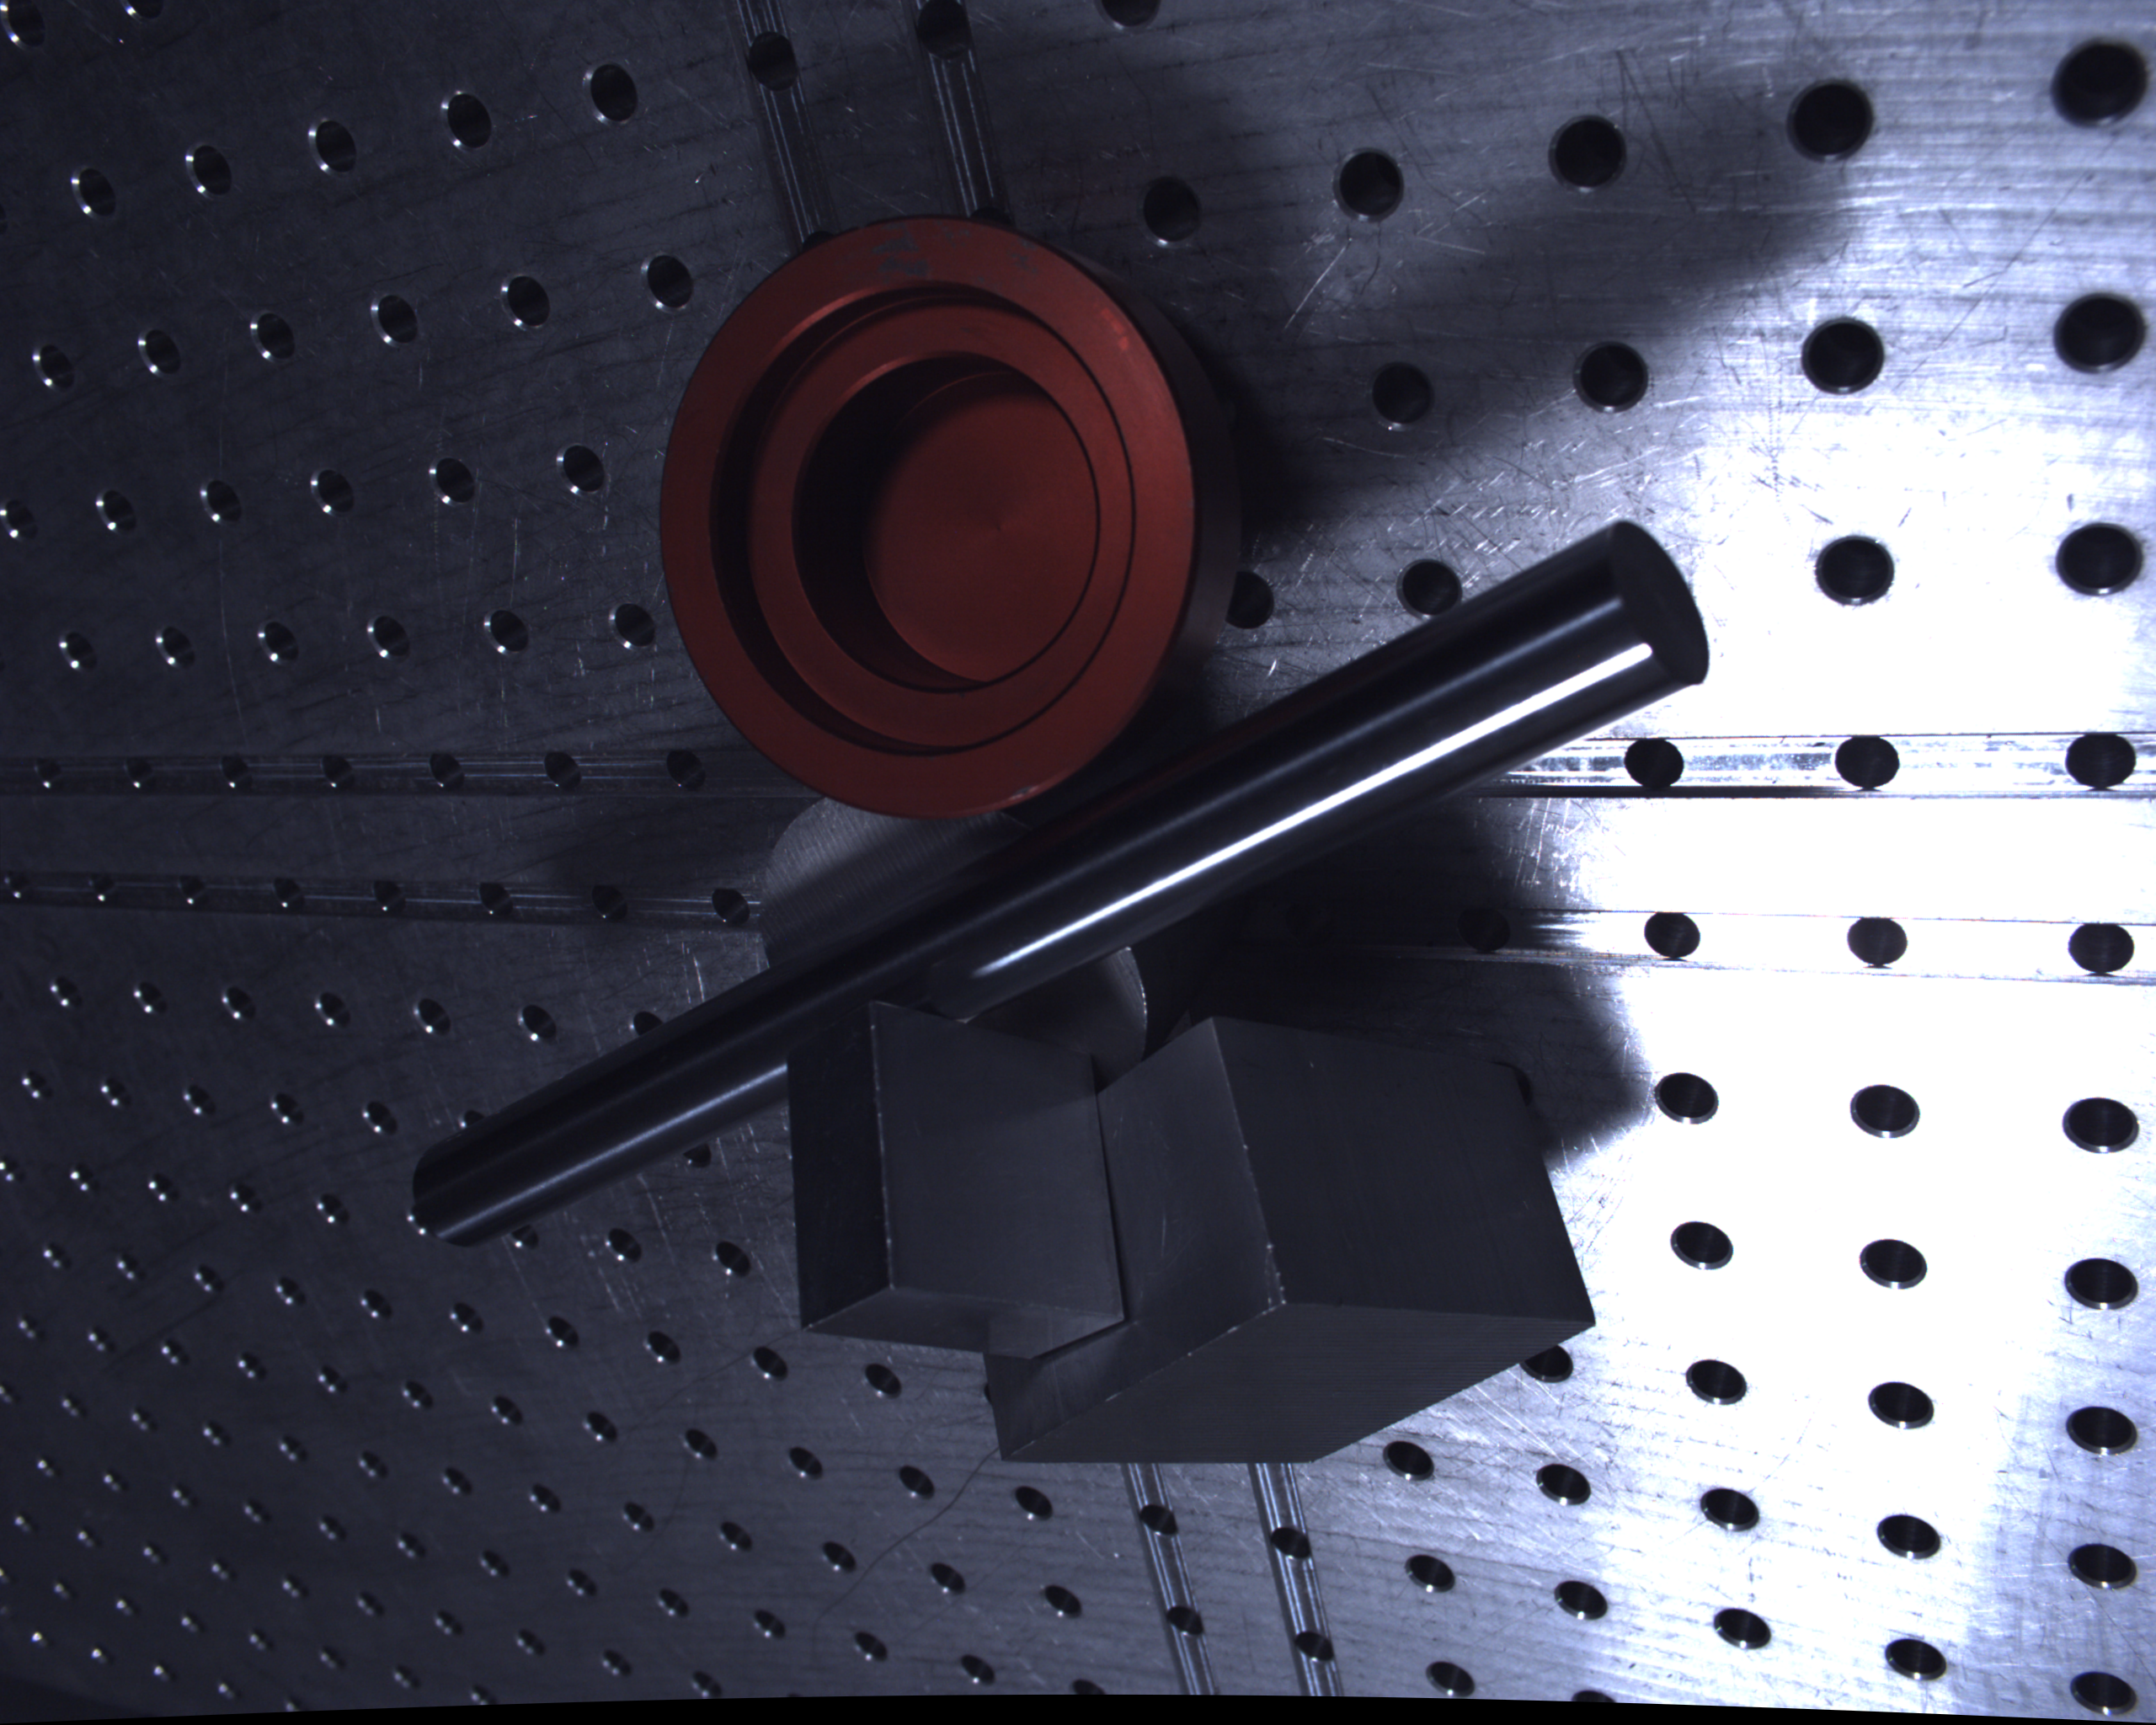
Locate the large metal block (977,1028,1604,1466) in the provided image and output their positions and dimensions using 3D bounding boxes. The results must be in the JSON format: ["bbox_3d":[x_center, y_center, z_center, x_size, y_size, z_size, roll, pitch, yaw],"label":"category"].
[{"bbox_3d":[0.036,0.076,0.393,0.081,0.050,0.080,13,142,-37],"label":"large metal block"}]

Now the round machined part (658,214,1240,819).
[{"bbox_3d":[-0.019,-0.058,0.358,0.098,0.042,0.097,3,97,22],"label":"round machined part"}]

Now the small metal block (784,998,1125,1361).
[{"bbox_3d":[-0.022,0.056,0.361,0.050,0.050,0.025,19,142,-39],"label":"small metal block"}]

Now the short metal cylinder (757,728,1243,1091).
[{"bbox_3d":[-0.014,0.009,0.406,0.080,0.050,0.079,13,124,20],"label":"short metal cylinder"}]

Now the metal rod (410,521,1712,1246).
[{"bbox_3d":[-0.029,0.019,0.371,0.299,0.025,0.025,-27,104,37],"label":"metal rod"}]
